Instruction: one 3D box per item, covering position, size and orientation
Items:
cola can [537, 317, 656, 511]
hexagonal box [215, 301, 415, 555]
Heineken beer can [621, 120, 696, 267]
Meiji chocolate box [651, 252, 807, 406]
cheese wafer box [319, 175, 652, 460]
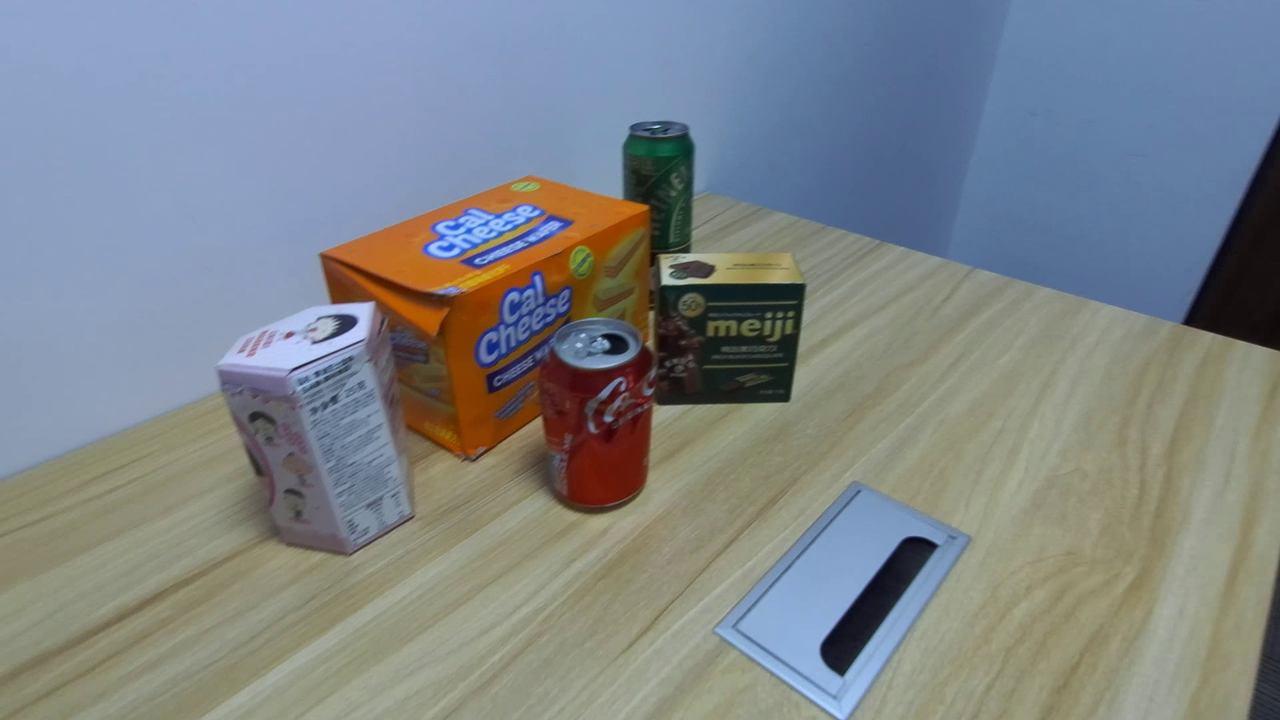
[{"bbox_3d":[-0.027,0.034,0.455,0.065,0.117,0.066,16,36,23],"label":"cola can"},{"bbox_3d":[-0.189,0.041,0.433,0.085,0.135,0.092,-9,34,-13],"label":"hexagonal box"},{"bbox_3d":[0.018,-0.134,0.675,0.067,0.169,0.067,0,30,0],"label":"Heineken beer can"},{"bbox_3d":[0.066,-0.023,0.552,0.110,0.109,0.056,-1,33,-1],"label":"Meiji chocolate box"},{"bbox_3d":[-0.111,-0.050,0.575,0.149,0.137,0.228,23,39,31],"label":"cheese wafer box"}]
